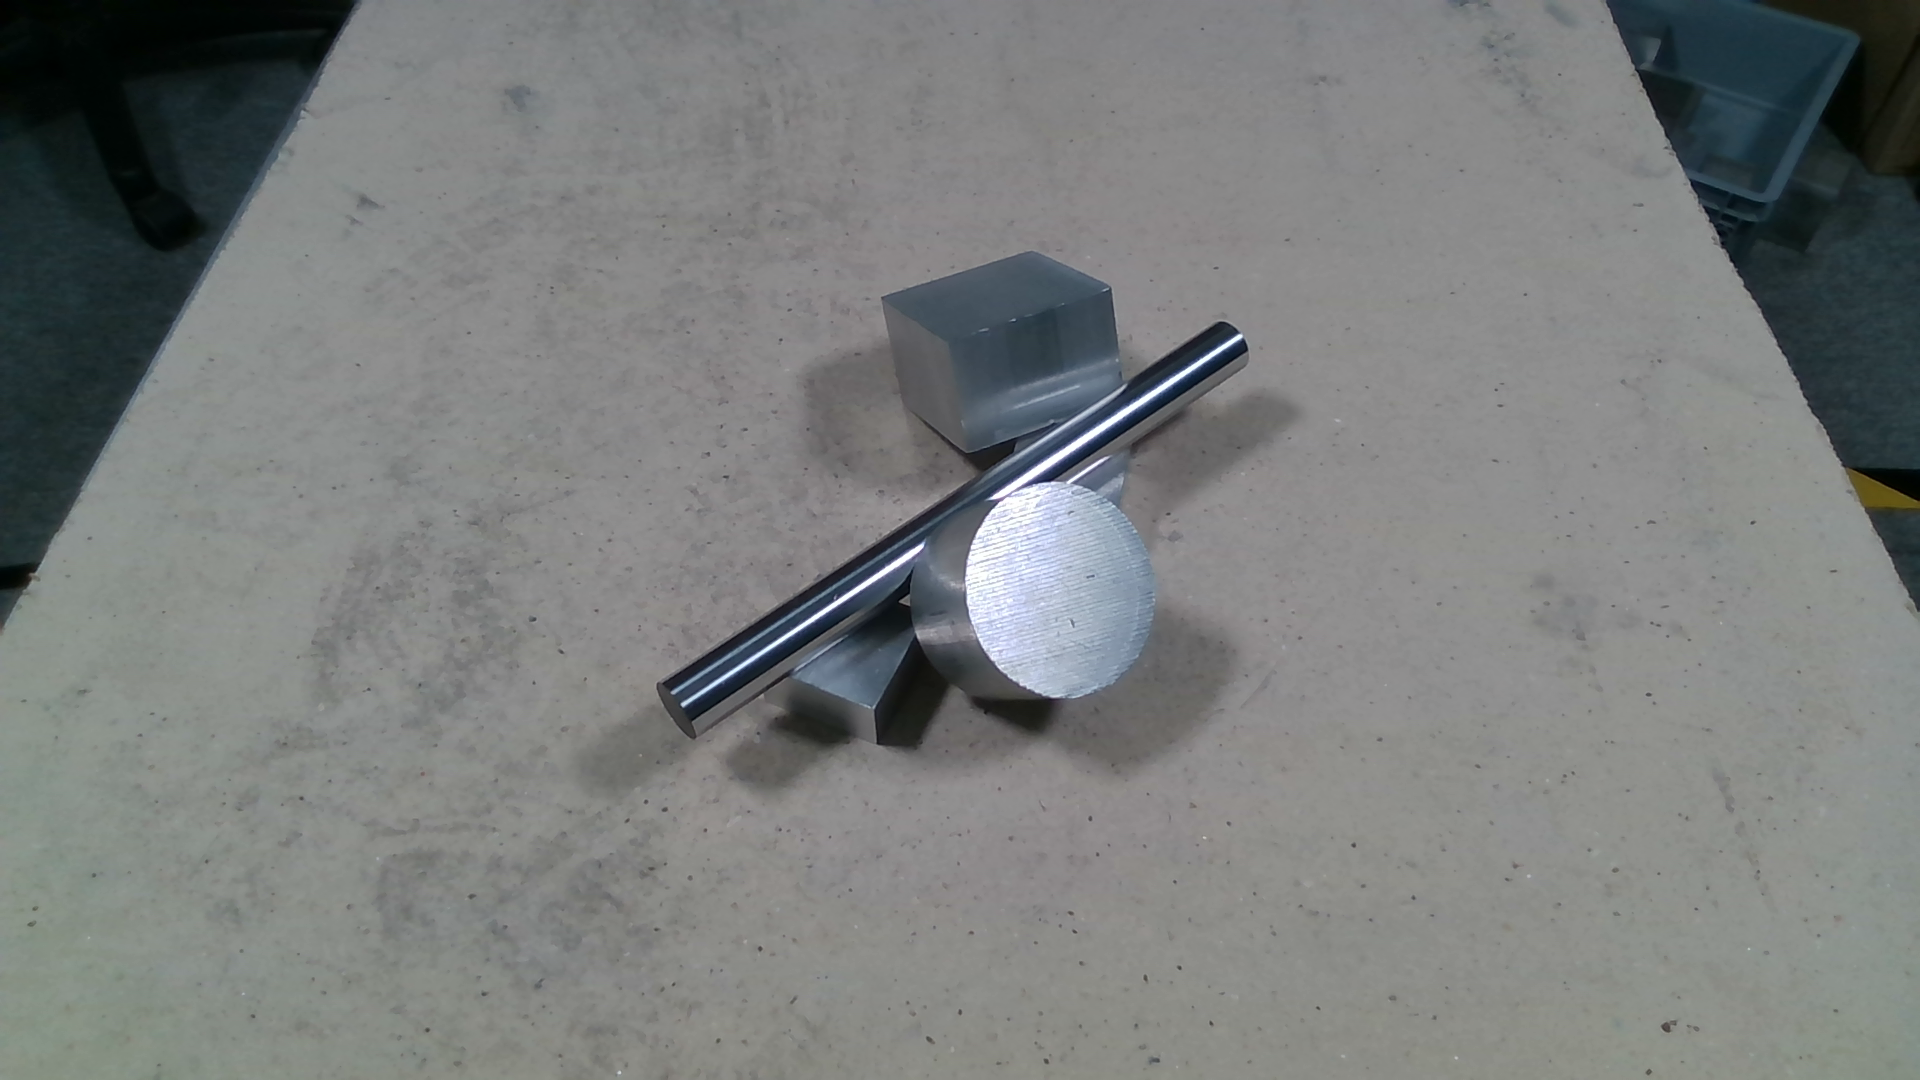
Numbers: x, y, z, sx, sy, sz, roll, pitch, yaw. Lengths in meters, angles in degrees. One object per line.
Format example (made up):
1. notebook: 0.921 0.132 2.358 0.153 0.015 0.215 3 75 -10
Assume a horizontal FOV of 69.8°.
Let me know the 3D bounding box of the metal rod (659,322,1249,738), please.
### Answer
1. metal rod: 0.009 -0.013 0.566 0.300 0.025 0.025 -34 58 -25

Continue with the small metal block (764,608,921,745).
1. small metal block: -0.045 0.047 0.549 0.050 0.025 0.050 19 53 15

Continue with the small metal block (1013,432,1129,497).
1. small metal block: 0.047 -0.026 0.609 0.050 0.025 0.050 9 51 8

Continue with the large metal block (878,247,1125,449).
1. large metal block: 0.019 -0.089 0.624 0.080 0.050 0.080 -21 30 -16

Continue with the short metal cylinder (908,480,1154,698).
1. short metal cylinder: 0.027 0.021 0.528 0.080 0.050 0.080 3 82 -25
